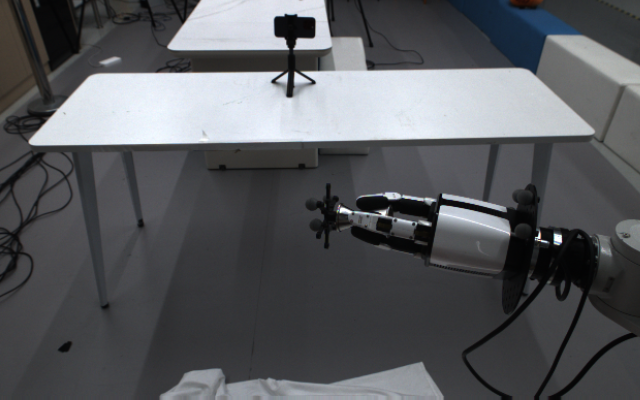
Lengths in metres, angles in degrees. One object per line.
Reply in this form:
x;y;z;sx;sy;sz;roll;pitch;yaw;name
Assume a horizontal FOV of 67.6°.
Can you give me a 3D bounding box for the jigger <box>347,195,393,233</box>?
0.066;0.021;0.639;0.071;0.043;0.043;3;34;18;jigger
